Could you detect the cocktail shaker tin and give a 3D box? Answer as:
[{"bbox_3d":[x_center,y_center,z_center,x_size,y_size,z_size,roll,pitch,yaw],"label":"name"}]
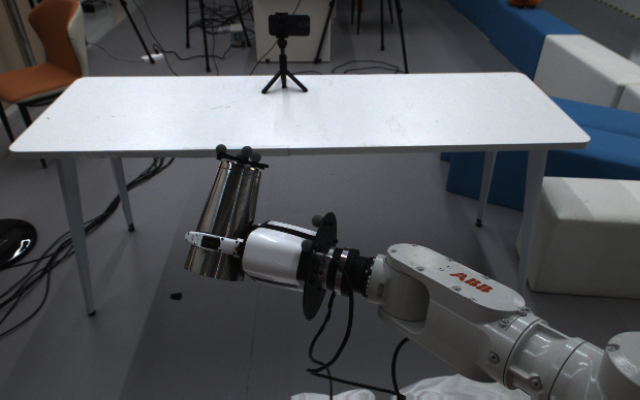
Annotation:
[{"bbox_3d":[-0.142,0.031,0.741,0.093,0.170,0.093,13,-4,1],"label":"cocktail shaker tin"}]
